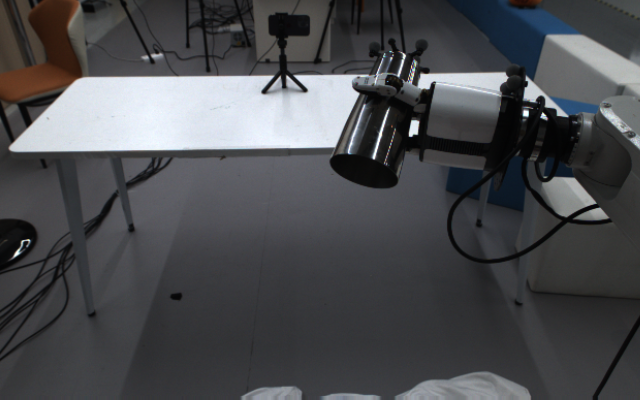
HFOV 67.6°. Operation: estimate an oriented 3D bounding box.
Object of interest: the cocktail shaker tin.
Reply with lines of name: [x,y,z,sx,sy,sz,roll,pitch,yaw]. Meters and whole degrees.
cocktail shaker tin: [0.082,-0.113,0.649,0.093,0.093,0.170,13,70,16]
